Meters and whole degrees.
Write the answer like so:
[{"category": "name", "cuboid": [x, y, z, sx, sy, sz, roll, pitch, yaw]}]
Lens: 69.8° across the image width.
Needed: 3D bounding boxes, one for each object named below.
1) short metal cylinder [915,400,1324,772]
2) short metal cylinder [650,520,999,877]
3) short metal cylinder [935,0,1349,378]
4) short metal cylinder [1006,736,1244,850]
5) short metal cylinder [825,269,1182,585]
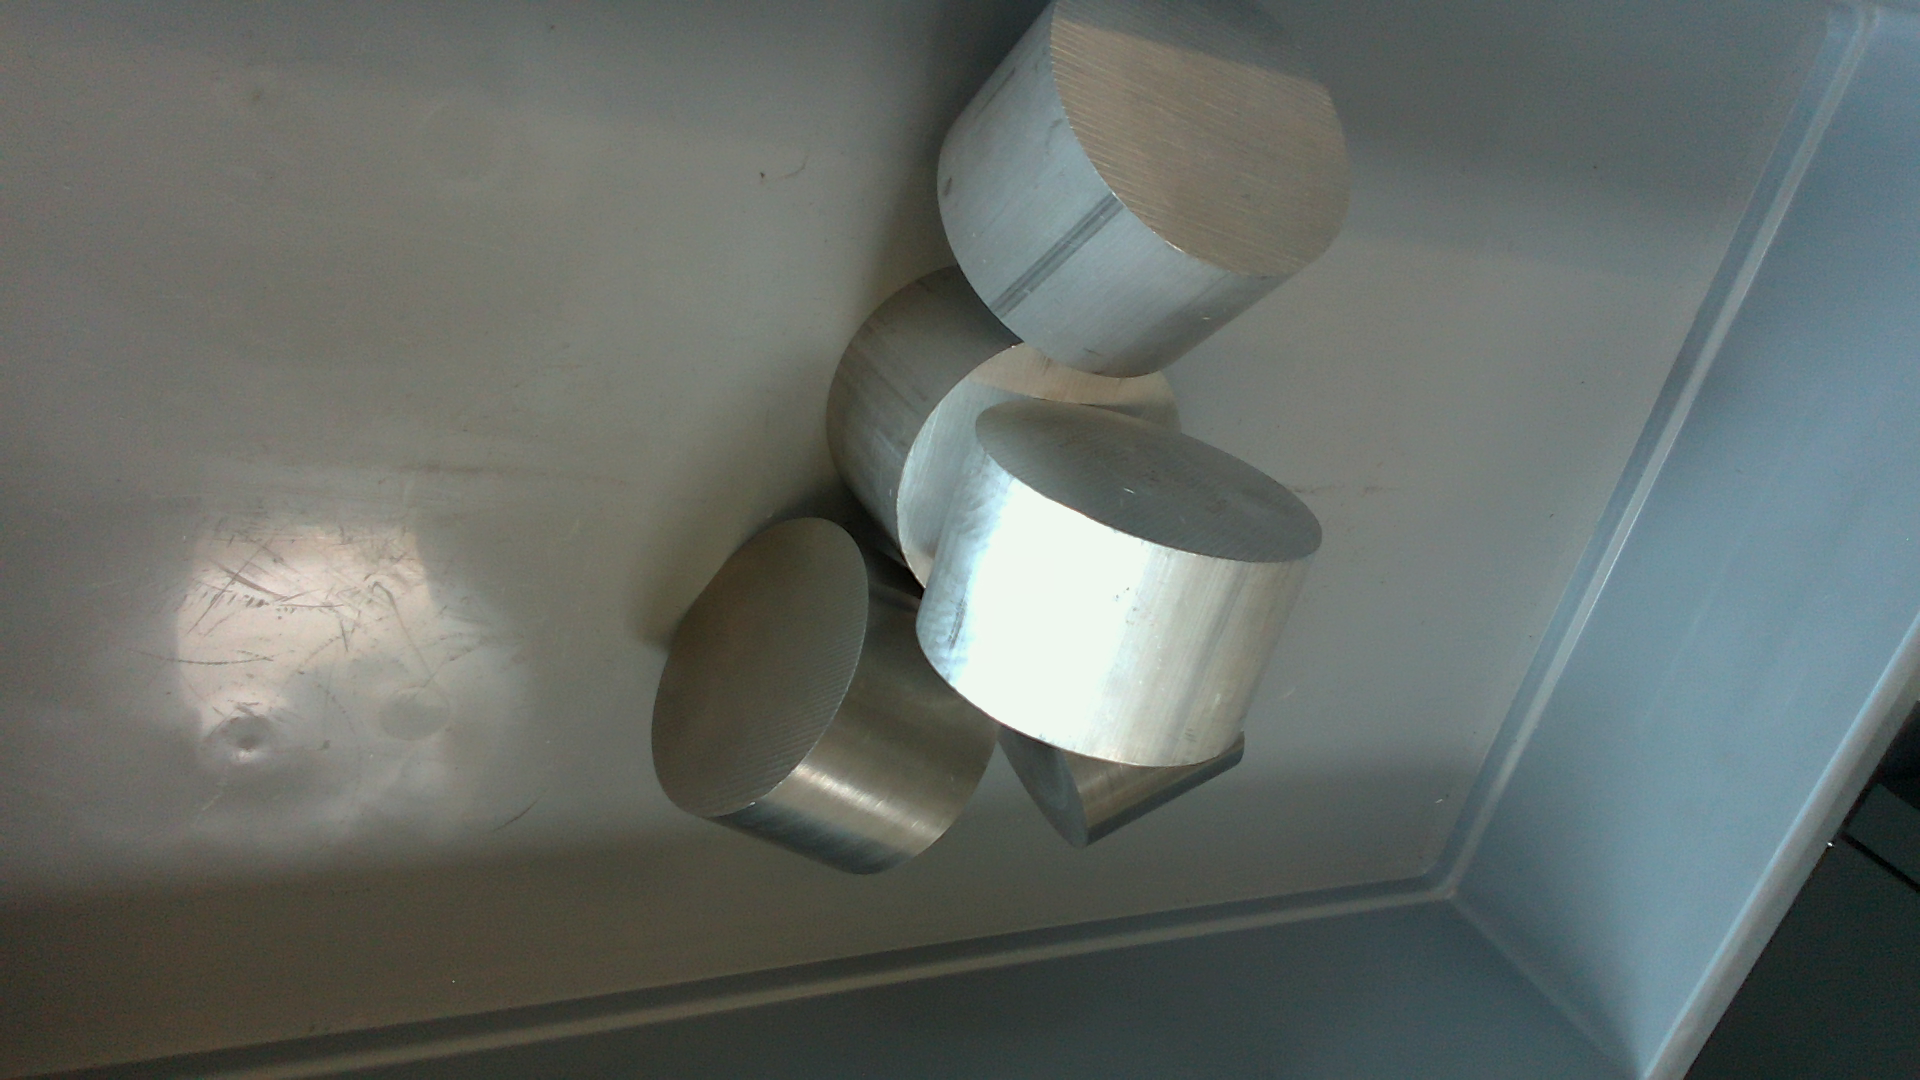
[{"category": "short metal cylinder", "cuboid": [0.034, 0.008, 0.311, 0.080, 0.080, 0.050, 3, 117, -30]}, {"category": "short metal cylinder", "cuboid": [-0.035, 0.042, 0.358, 0.050, 0.080, 0.080, 33, 100, -38]}, {"category": "short metal cylinder", "cuboid": [0.041, -0.084, 0.315, 0.080, 0.080, 0.050, 4, 159, -30]}, {"category": "short metal cylinder", "cuboid": [0.038, 0.042, 0.399, 0.050, 0.080, 0.080, -25, 127, -12]}, {"category": "short metal cylinder", "cuboid": [0.011, -0.025, 0.360, 0.080, 0.050, 0.080, -14, 124, -21]}]
